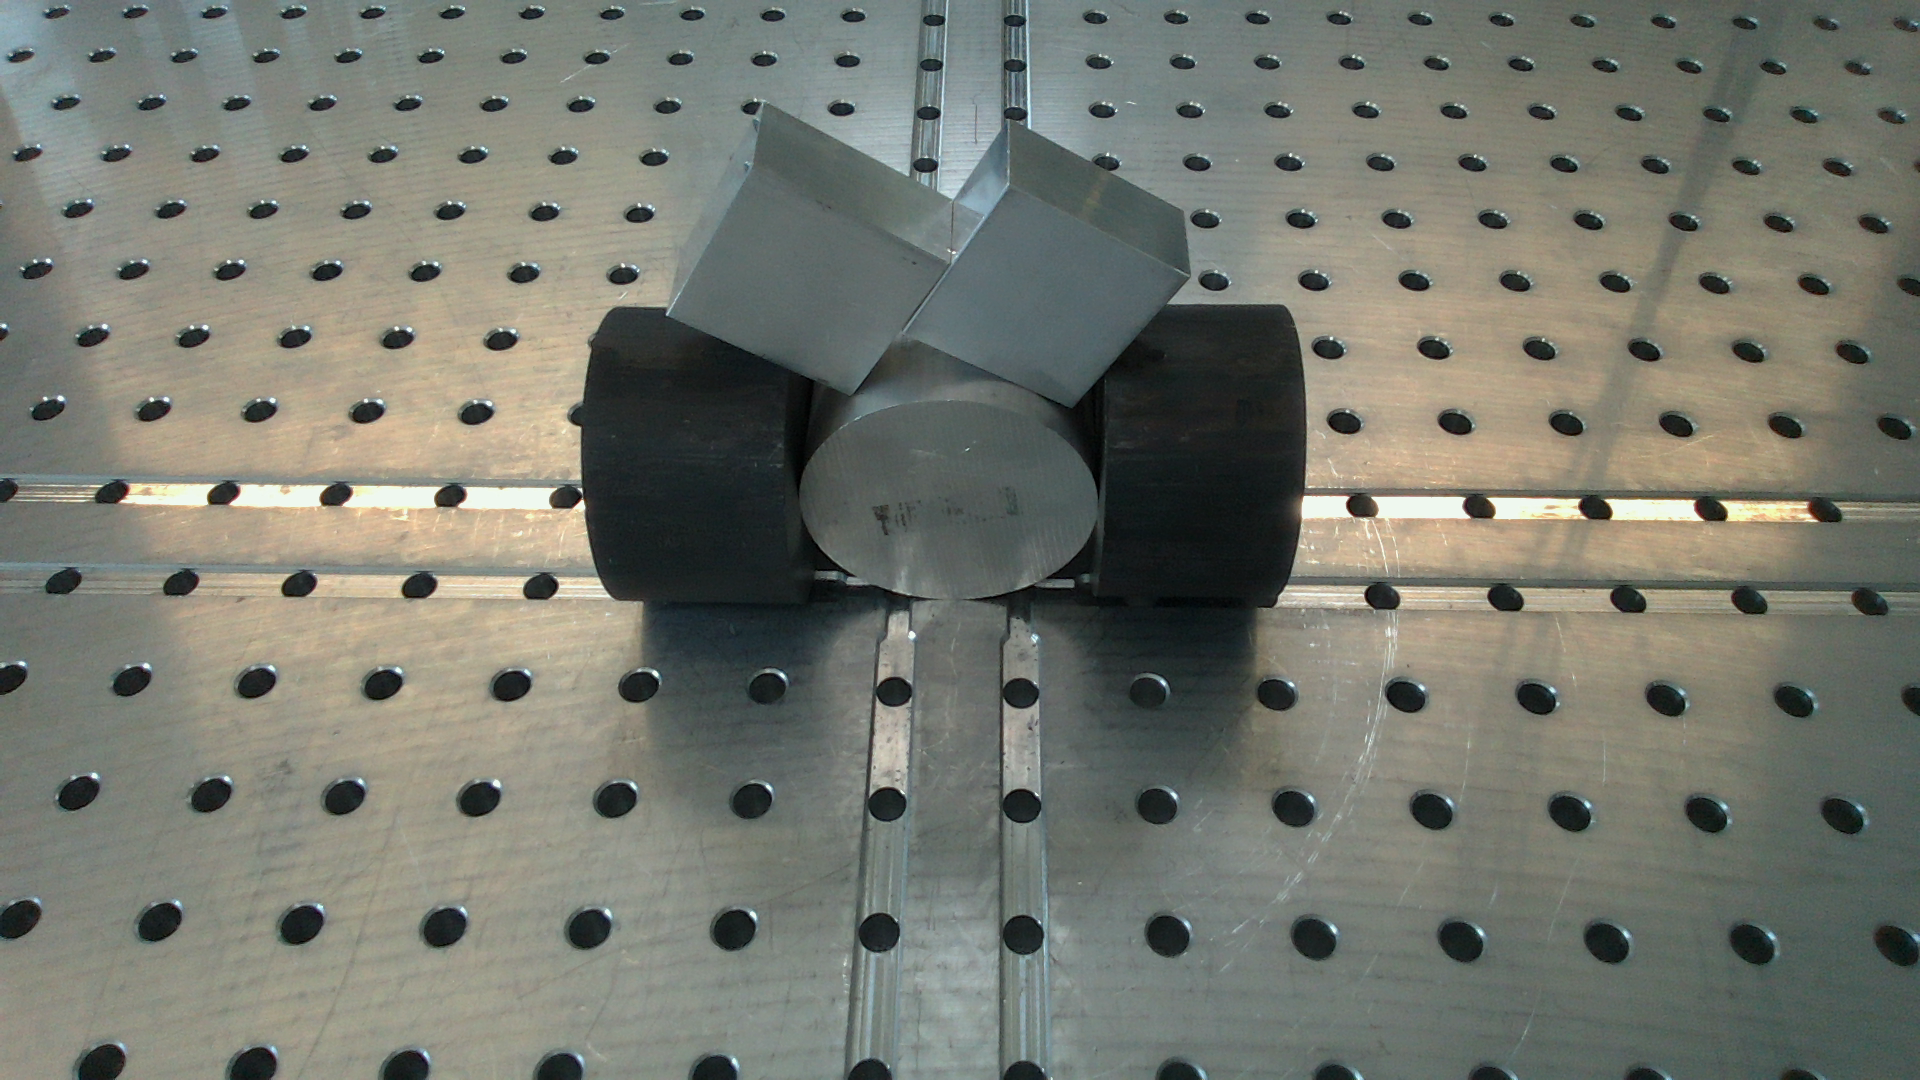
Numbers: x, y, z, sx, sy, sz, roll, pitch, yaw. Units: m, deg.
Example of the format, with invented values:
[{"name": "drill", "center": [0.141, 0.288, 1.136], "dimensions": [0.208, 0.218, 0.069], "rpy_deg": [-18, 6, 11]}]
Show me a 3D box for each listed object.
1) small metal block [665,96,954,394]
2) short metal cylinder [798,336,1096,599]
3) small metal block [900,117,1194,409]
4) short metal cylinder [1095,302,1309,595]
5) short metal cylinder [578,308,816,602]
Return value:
[{"name": "small metal block", "center": [-0.036, -0.069, 0.330], "dimensions": [0.050, 0.050, 0.025], "rpy_deg": [22, 46, -23]}, {"name": "short metal cylinder", "center": [-0.003, -0.028, 0.382], "dimensions": [0.080, 0.080, 0.050], "rpy_deg": [1, 50, 1]}, {"name": "small metal block", "center": [0.020, -0.065, 0.333], "dimensions": [0.050, 0.050, 0.025], "rpy_deg": [21, 46, -22]}, {"name": "short metal cylinder", "center": [0.062, -0.025, 0.379], "dimensions": [0.050, 0.080, 0.080], "rpy_deg": [0, 50, 1]}, {"name": "short metal cylinder", "center": [-0.068, -0.023, 0.378], "dimensions": [0.050, 0.080, 0.080], "rpy_deg": [1, 50, 1]}]
